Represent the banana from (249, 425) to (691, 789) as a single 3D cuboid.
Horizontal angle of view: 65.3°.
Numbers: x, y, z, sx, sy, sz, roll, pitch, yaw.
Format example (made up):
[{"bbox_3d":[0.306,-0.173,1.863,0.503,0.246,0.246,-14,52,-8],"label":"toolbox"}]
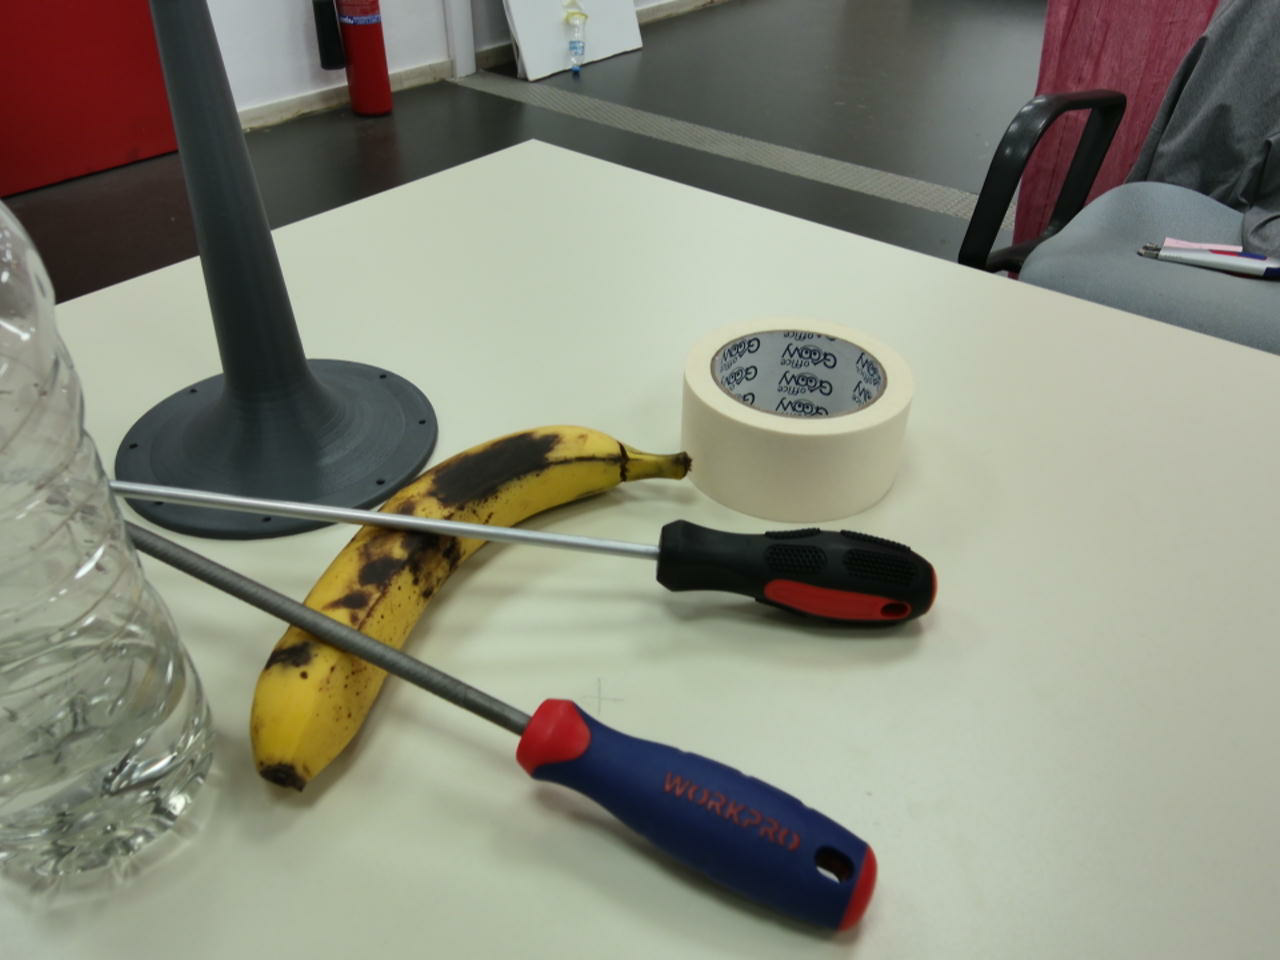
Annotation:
[{"bbox_3d":[-0.075,0.028,0.397,0.084,0.037,0.222,25,42,29],"label":"banana"}]
